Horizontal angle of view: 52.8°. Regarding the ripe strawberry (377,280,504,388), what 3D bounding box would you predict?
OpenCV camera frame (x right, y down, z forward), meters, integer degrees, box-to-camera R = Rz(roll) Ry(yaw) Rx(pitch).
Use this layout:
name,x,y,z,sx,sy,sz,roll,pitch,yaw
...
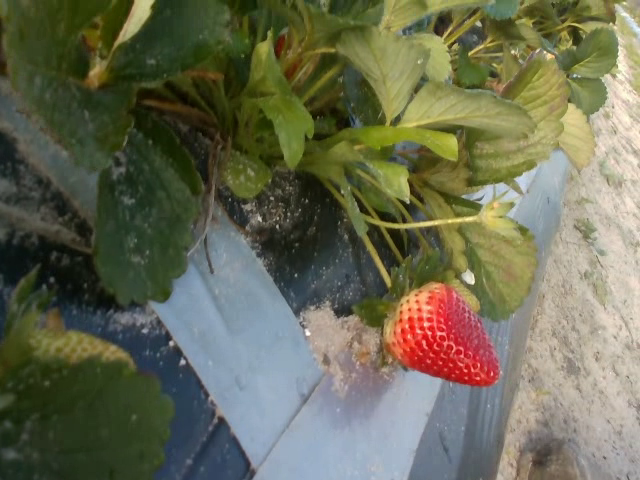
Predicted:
name,x,y,z,sx,sy,sz,roll,pitch,yaw
ripe strawberry,0.027,0.019,0.121,0.023,0.020,0.026,-21,54,-35
